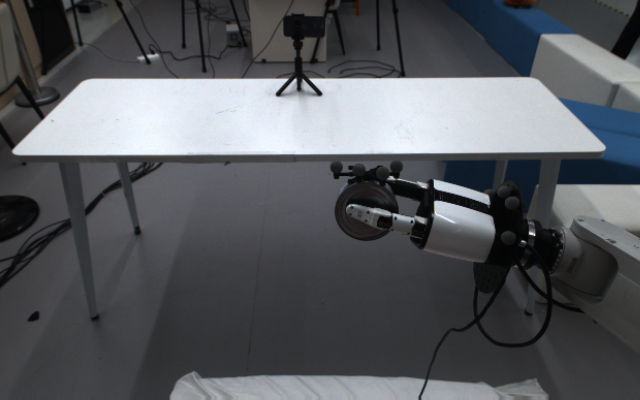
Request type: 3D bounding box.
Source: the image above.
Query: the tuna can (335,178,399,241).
[{"bbox_3d":[0.065,0.011,0.664,0.085,0.085,0.034,4,17,3],"label":"tuna can"}]
